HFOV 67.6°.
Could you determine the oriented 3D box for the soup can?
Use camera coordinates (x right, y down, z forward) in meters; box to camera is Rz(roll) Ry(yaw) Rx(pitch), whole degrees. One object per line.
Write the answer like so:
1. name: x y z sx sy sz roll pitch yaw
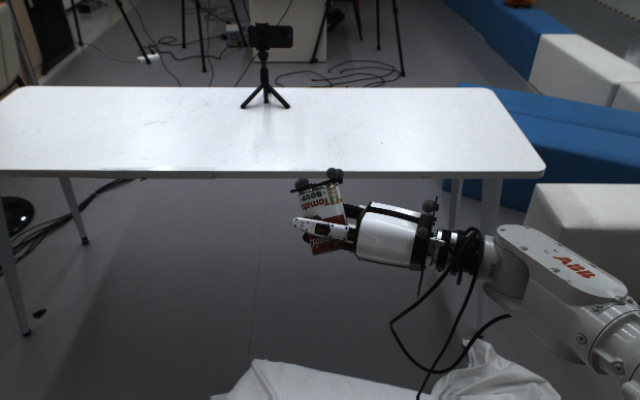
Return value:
1. soup can: 0.009 0.031 0.772 0.067 0.101 0.067 -14 -2 -1
